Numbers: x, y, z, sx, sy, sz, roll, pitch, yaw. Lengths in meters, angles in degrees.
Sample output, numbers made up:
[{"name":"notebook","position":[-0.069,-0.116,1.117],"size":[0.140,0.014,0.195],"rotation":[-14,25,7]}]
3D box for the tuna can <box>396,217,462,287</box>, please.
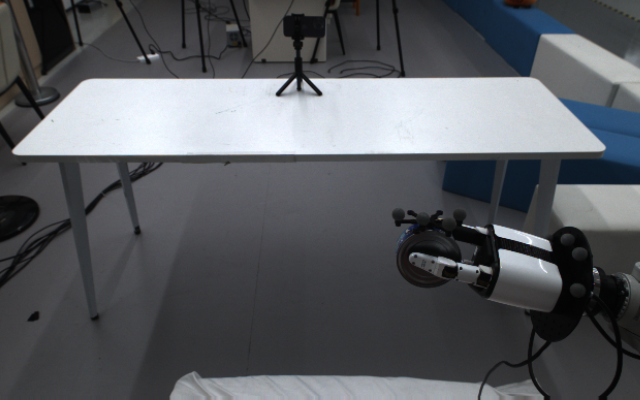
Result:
[{"name":"tuna can","position":[0.148,0.074,0.659],"size":[0.085,0.085,0.034],"rotation":[5,17,4]}]
